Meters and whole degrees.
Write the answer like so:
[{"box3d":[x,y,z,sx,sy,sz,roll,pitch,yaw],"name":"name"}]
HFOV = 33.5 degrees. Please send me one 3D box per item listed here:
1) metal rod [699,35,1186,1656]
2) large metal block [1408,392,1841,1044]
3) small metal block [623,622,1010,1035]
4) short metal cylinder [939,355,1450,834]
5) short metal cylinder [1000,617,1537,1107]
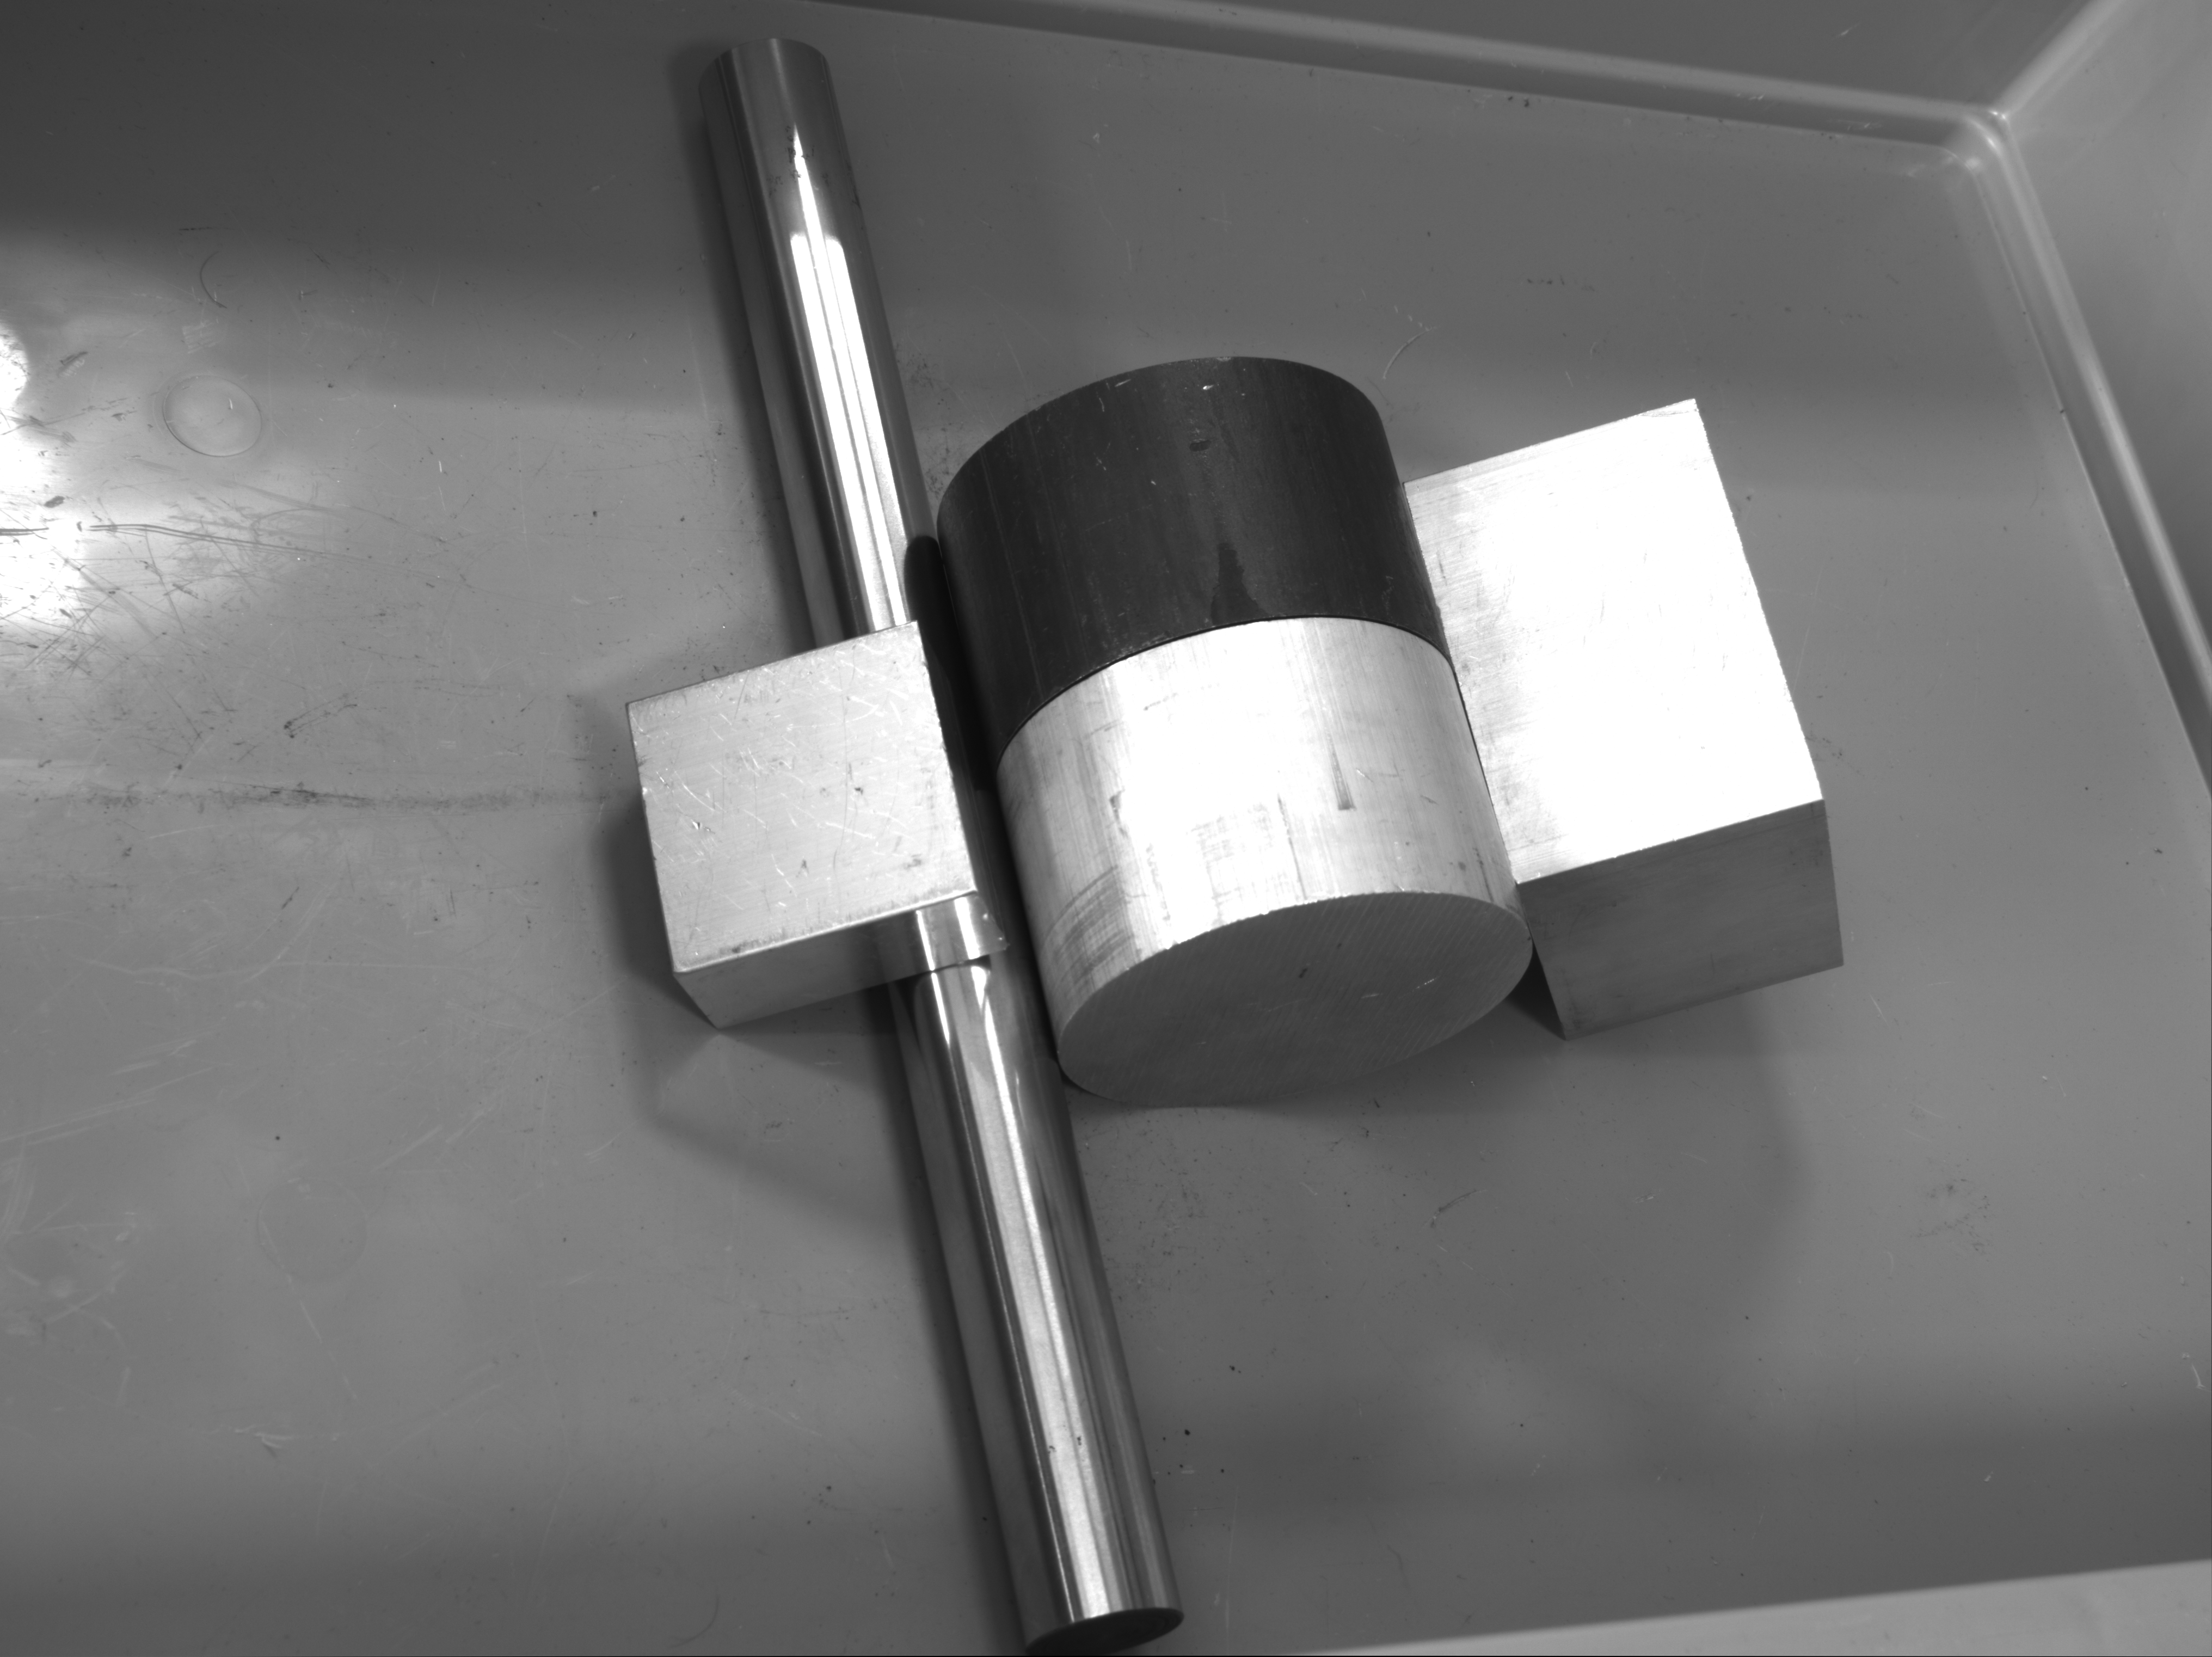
[{"box3d":[-0.032,-0.009,0.625,0.025,0.025,0.300,1,61,-28],"name":"metal rod"},{"box3d":[0.093,-0.018,0.654,0.050,0.080,0.080,-16,65,7],"name":"large metal block"},{"box3d":[-0.047,0.000,0.598,0.050,0.025,0.050,-16,64,3],"name":"small metal block"},{"box3d":[0.015,-0.038,0.633,0.080,0.080,0.050,1,61,-28],"name":"short metal cylinder"},{"box3d":[0.026,0.007,0.612,0.080,0.080,0.050,1,61,-28],"name":"short metal cylinder"}]
